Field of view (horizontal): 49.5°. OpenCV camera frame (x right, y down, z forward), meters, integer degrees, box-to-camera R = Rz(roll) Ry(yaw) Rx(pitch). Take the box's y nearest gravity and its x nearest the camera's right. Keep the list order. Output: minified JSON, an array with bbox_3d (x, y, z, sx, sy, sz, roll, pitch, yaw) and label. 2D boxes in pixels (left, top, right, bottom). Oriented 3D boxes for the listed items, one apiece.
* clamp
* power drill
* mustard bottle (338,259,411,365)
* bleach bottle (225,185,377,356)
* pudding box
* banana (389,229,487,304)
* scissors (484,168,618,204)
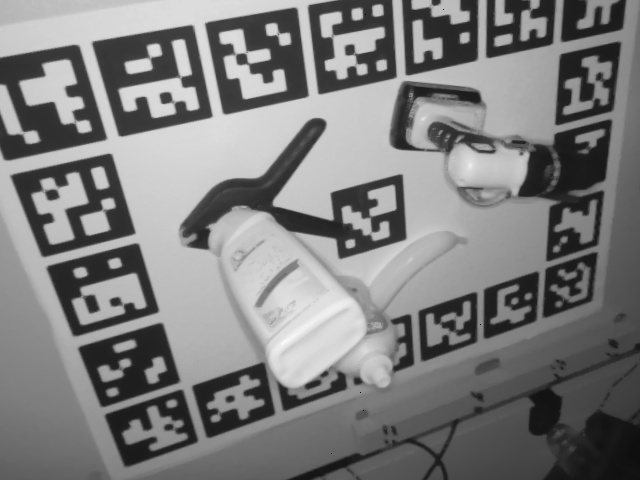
[{"bbox_3d":[-0.042,-0.059,0.792,0.204,0.036,0.164,-17,118,-10],"label":"clamp"},{"bbox_3d":[0.225,-0.130,0.754,0.187,0.187,0.057,-1,123,-23],"label":"power drill"},{"bbox_3d":[0.056,0.087,0.835,0.097,0.191,0.058,2,116,-19],"label":"mustard bottle"},{"bbox_3d":[-0.043,0.008,0.702,0.103,0.249,0.068,-32,126,-11],"label":"bleach bottle"},{"bbox_3d":[0.264,-0.102,0.874,0.115,0.090,0.038,-8,125,-16],"label":"pudding box"},{"bbox_3d":[0.140,0.049,0.926,0.197,0.039,0.075,-46,138,5],"label":"banana"},{"bbox_3d":[0.292,-0.069,0.825,0.205,0.016,0.087,13,106,-21],"label":"scissors"}]
